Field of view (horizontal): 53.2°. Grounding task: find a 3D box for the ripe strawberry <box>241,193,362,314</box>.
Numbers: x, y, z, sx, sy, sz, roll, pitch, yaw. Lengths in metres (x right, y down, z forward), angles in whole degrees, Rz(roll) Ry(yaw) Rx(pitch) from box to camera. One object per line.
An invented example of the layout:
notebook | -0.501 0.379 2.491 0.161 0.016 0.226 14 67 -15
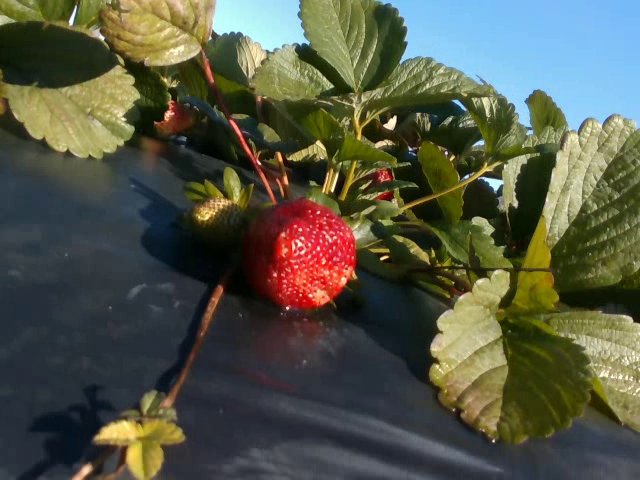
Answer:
ripe strawberry | -0.008 0.004 0.192 0.041 0.043 0.053 32 -3 2
